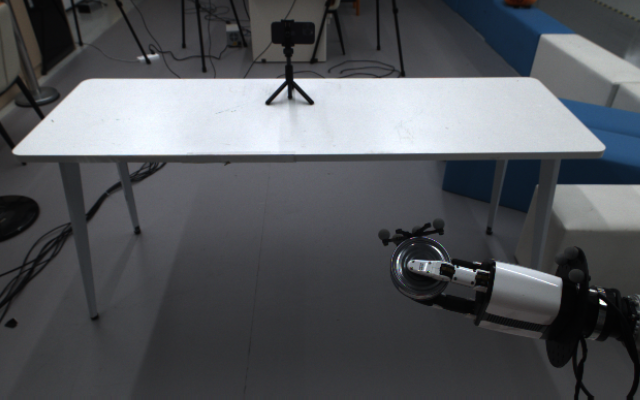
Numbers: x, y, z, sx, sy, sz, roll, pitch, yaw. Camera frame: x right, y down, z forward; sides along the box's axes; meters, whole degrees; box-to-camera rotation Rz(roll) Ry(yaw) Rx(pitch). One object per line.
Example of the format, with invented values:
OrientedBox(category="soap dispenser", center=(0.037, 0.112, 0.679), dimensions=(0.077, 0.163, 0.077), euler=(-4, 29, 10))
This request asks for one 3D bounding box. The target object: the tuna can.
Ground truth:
OrientedBox(category="tuna can", center=(0.146, 0.101, 0.677), dimensions=(0.085, 0.034, 0.085), euler=(-4, 68, 9))
